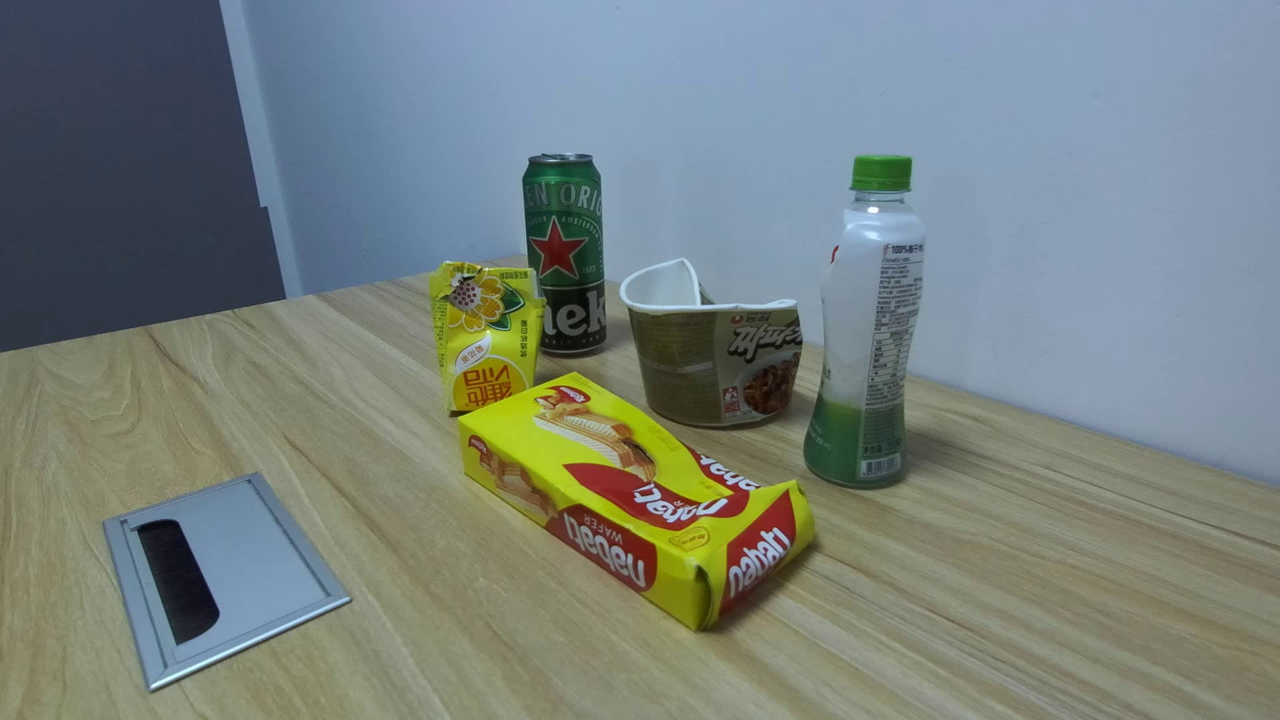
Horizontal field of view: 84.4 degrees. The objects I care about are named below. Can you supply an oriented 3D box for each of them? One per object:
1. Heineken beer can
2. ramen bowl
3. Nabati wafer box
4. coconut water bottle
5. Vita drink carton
[{"bbox_3d":[-0.064,-0.090,0.622,0.067,0.169,0.067,-1,19,1],"label":"Heineken beer can"},{"bbox_3d":[0.049,-0.013,0.522,0.137,0.098,0.137,-1,20,1],"label":"ramen bowl"},{"bbox_3d":[-0.005,0.066,0.400,0.107,0.042,0.203,-21,31,-39],"label":"Nabati wafer box"},{"bbox_3d":[0.135,-0.022,0.414,0.069,0.186,0.069,0,18,0],"label":"coconut water bottle"},{"bbox_3d":[-0.113,-0.018,0.531,0.087,0.108,0.042,0,6,-2],"label":"Vita drink carton"}]
